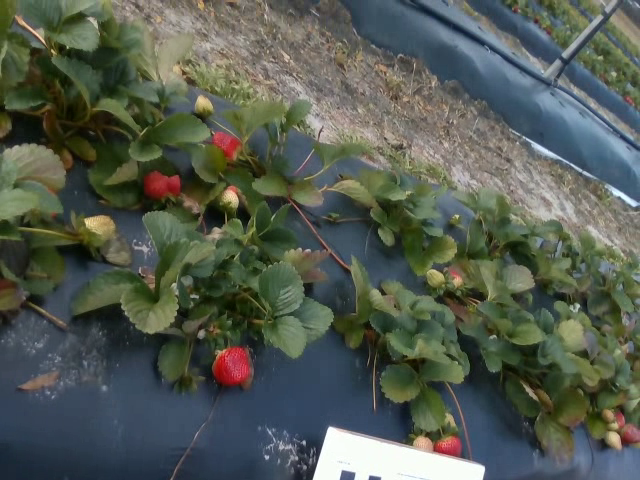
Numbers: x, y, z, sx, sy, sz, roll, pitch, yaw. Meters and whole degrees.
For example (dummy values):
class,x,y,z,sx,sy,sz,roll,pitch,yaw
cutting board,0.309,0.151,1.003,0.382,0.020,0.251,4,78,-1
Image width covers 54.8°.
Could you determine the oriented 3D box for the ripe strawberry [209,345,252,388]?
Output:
class,x,y,z,sx,sy,sz,roll,pitch,yaw
ripe strawberry,-0.107,0.160,0.750,0.050,0.049,0.053,17,12,-39
